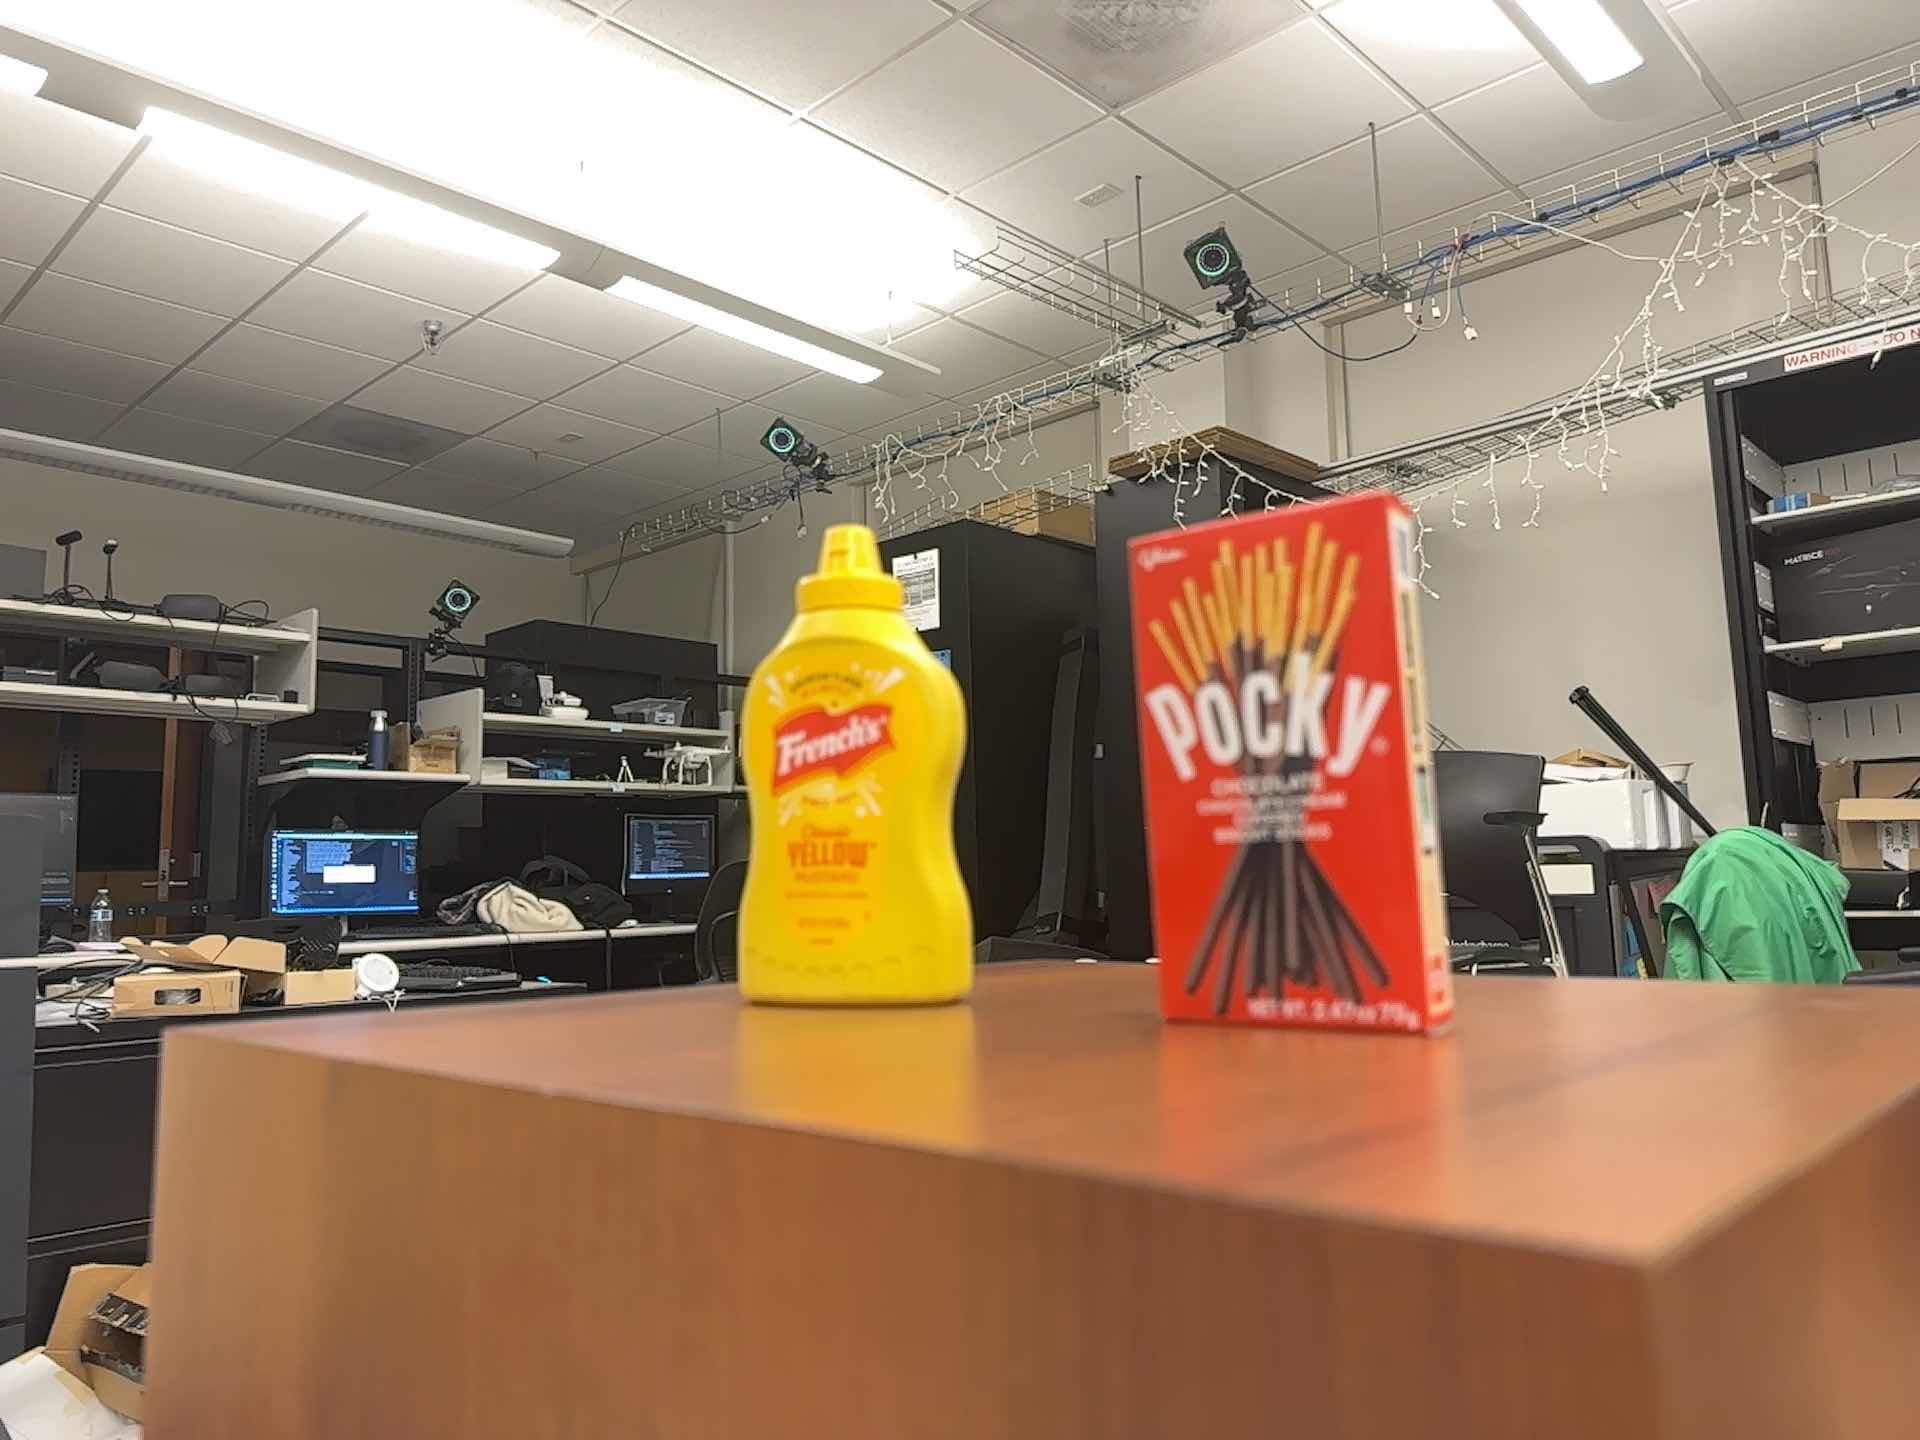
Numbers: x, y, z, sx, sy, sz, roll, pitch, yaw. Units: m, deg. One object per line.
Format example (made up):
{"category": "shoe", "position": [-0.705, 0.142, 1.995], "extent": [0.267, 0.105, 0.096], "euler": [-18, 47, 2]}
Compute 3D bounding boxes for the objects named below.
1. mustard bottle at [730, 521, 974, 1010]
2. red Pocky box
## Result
{"category": "mustard bottle", "position": [-0.041, 0.014, 0.506], "extent": [0.092, 0.184, 0.054], "euler": [-5, -11, 25]}
{"category": "red Pocky box", "position": [0.094, 0.009, 0.398], "extent": [0.083, 0.155, 0.028], "euler": [-9, -12, 37]}
